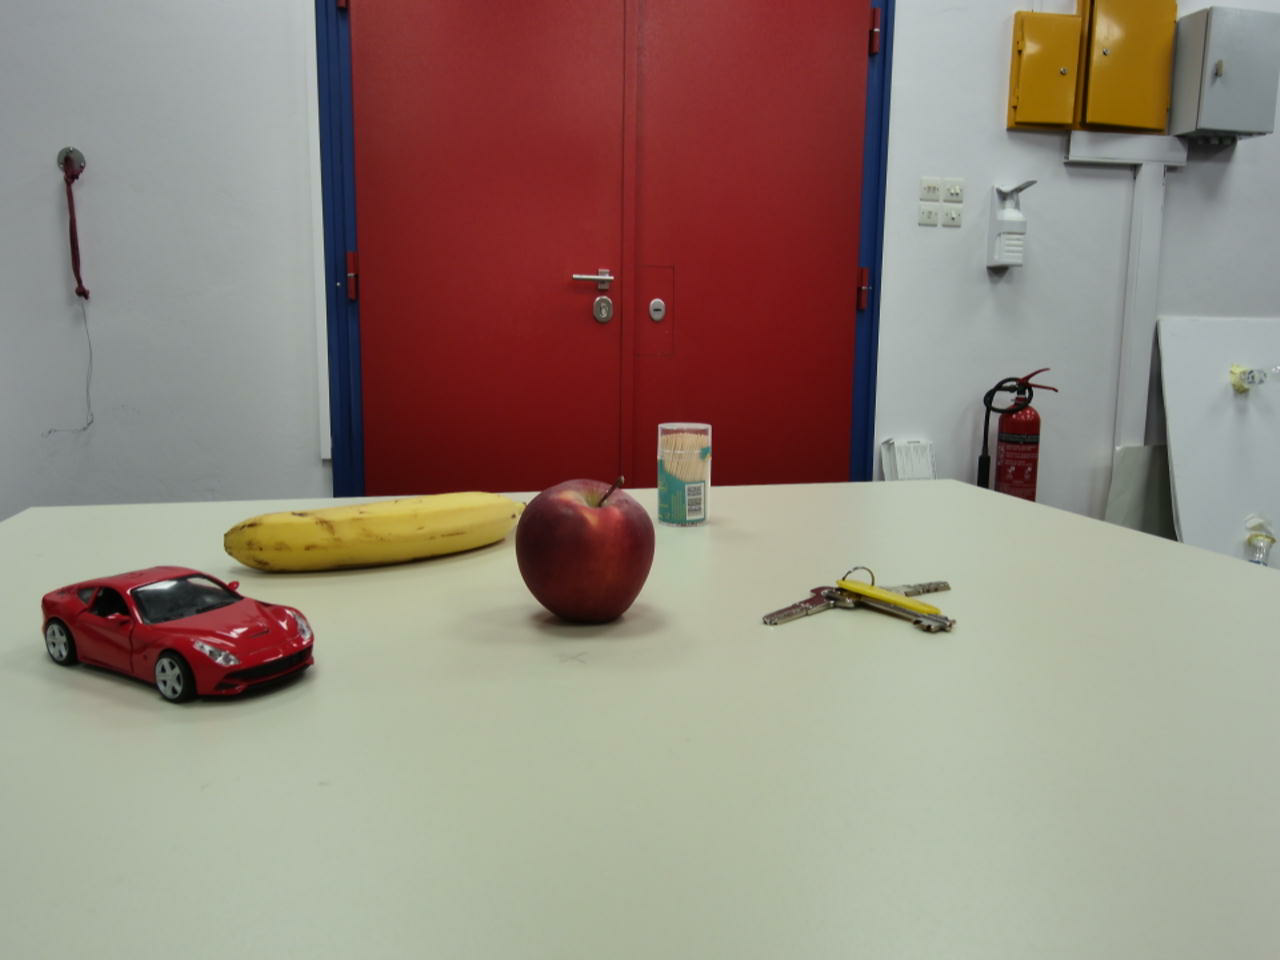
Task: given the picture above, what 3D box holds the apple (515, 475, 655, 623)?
[{"bbox_3d":[-0.027,0.033,0.502,0.070,0.072,0.070,-1,7,0],"label":"apple"}]
